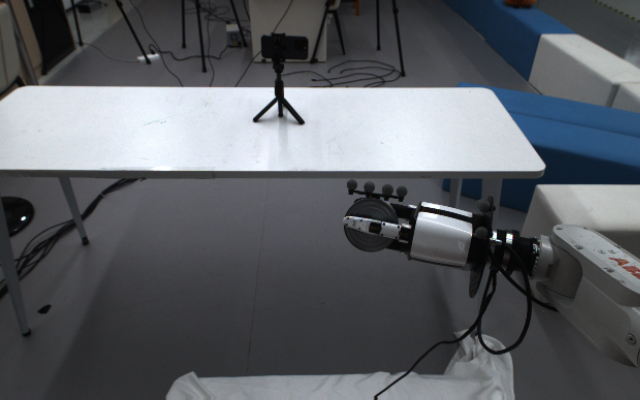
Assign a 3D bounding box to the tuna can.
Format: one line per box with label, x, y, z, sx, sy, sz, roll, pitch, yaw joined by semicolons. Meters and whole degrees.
tuna can;0.083;0.035;0.769;0.085;0.085;0.034;11;2;13
